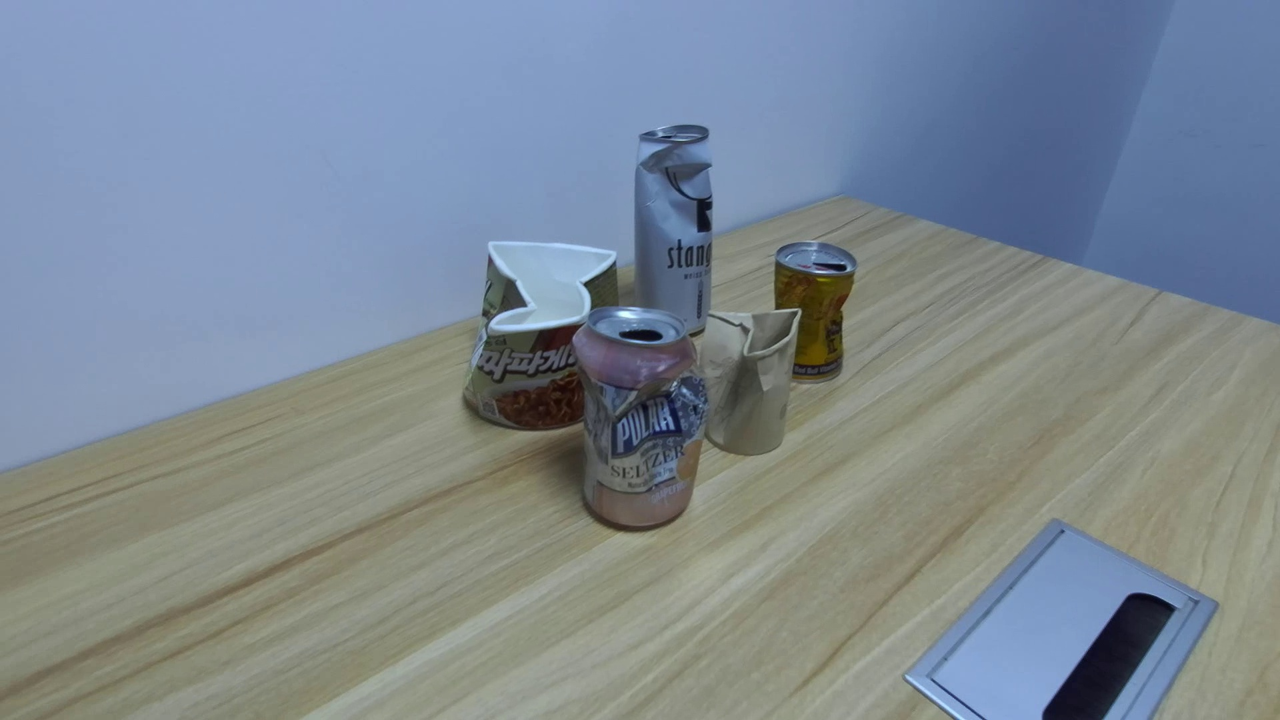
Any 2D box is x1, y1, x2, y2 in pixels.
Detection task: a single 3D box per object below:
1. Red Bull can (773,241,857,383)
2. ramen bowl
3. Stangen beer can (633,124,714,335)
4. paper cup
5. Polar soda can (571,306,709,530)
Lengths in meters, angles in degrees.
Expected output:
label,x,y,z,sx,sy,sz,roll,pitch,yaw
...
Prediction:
label,x,y,z,sx,sy,sz,roll,pitch,yaw
Red Bull can,0.128,-0.037,0.538,0.072,0.092,0.072,1,32,0
ramen bowl,-0.074,-0.015,0.501,0.111,0.093,0.128,5,33,7
Stangen beer can,0.028,-0.102,0.572,0.066,0.166,0.066,-2,32,-1
paper cup,0.069,0.013,0.465,0.058,0.083,0.066,9,31,18
Polar soda can,0.000,0.030,0.404,0.071,0.122,0.066,-14,29,-22
